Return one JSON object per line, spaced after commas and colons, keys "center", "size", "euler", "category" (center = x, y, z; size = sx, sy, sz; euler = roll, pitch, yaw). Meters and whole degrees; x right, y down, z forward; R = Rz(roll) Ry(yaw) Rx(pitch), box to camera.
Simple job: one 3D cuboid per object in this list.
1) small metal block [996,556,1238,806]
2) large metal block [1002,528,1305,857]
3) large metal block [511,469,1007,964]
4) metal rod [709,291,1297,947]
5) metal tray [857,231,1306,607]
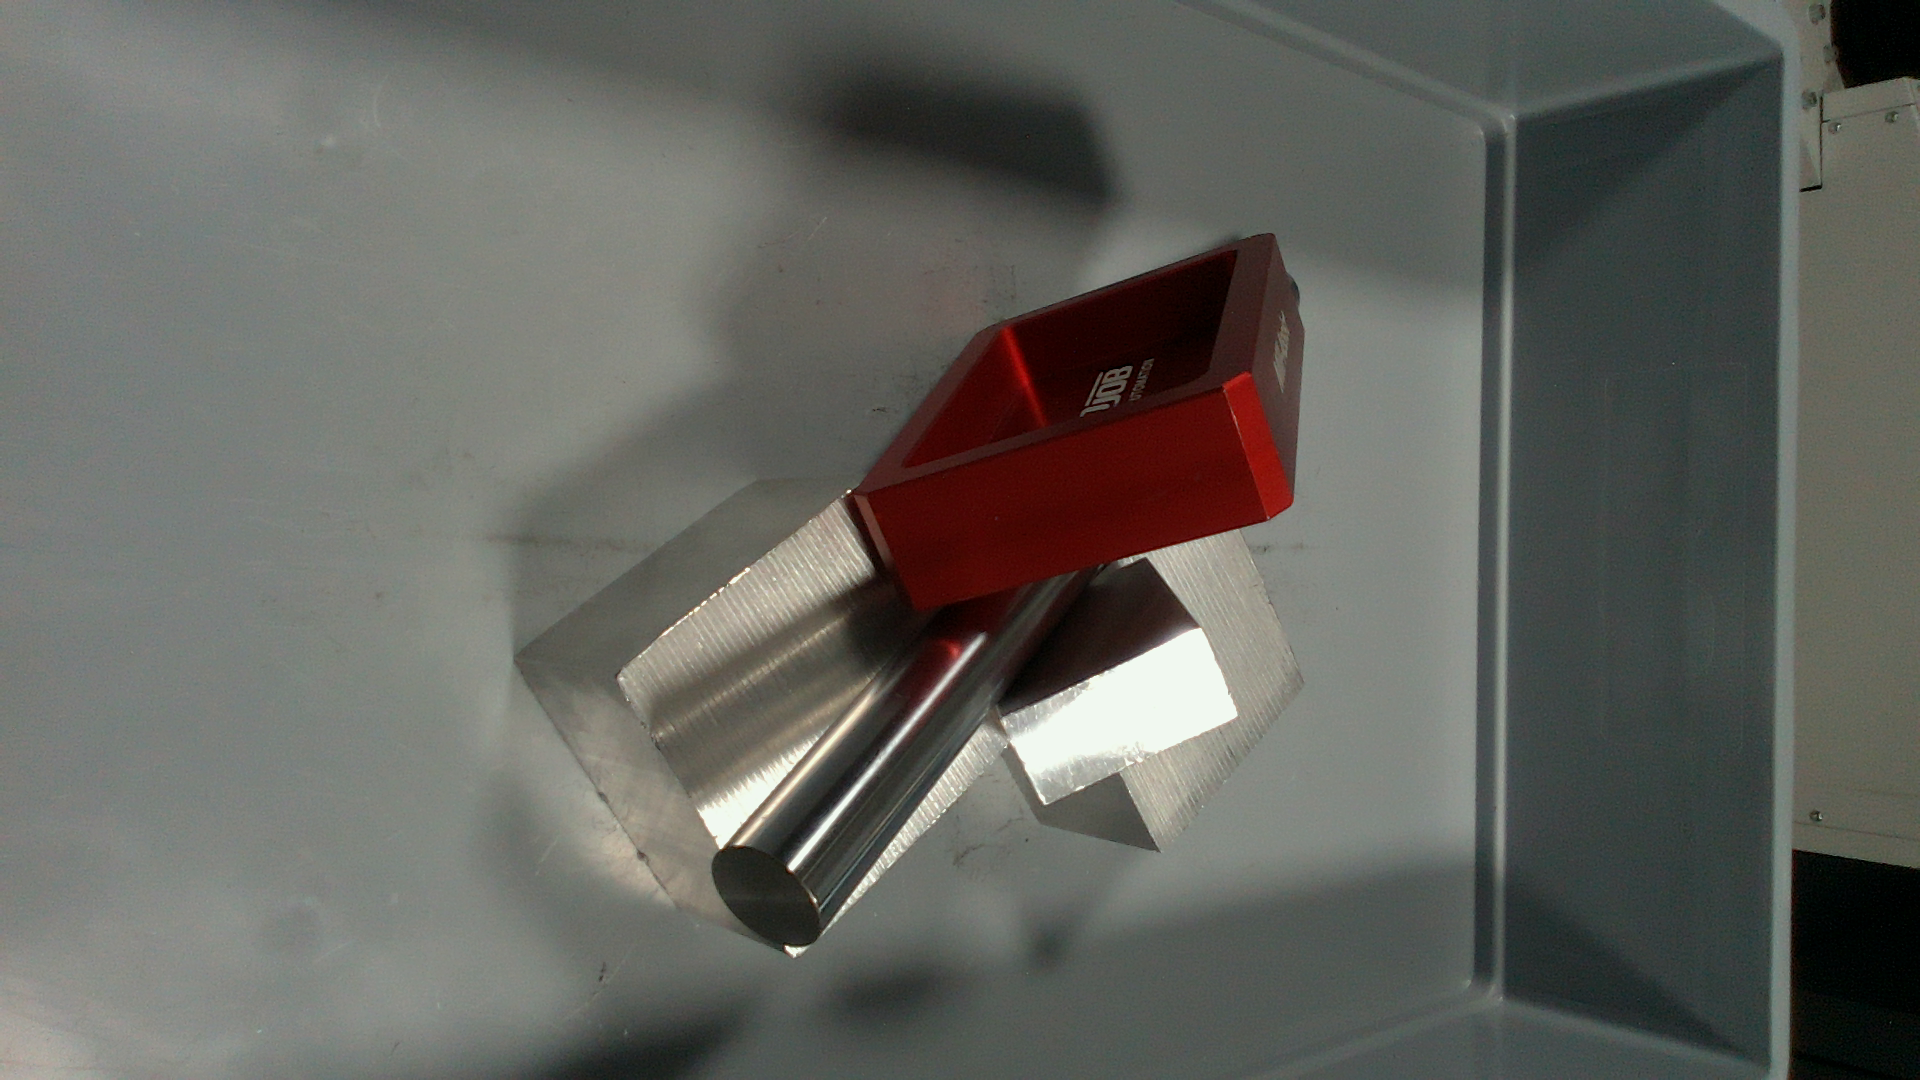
{"center": [0.033, 0.033, 0.336], "size": [0.050, 0.050, 0.025], "euler": [-24, 109, 1], "category": "small metal block"}
{"center": [0.049, 0.034, 0.412], "size": [0.080, 0.050, 0.080], "euler": [-41, 115, -32], "category": "large metal block"}
{"center": [-0.044, 0.039, 0.332], "size": [0.080, 0.050, 0.080], "euler": [-41, 115, -32], "category": "large metal block"}
{"center": [0.034, -0.008, 0.368], "size": [0.301, 0.025, 0.025], "euler": [-47, 119, -47], "category": "metal rod"}
{"center": [0.037, -0.035, 0.342], "size": [0.130, 0.090, 0.030], "euler": [-61, 133, -62], "category": "metal tray"}
